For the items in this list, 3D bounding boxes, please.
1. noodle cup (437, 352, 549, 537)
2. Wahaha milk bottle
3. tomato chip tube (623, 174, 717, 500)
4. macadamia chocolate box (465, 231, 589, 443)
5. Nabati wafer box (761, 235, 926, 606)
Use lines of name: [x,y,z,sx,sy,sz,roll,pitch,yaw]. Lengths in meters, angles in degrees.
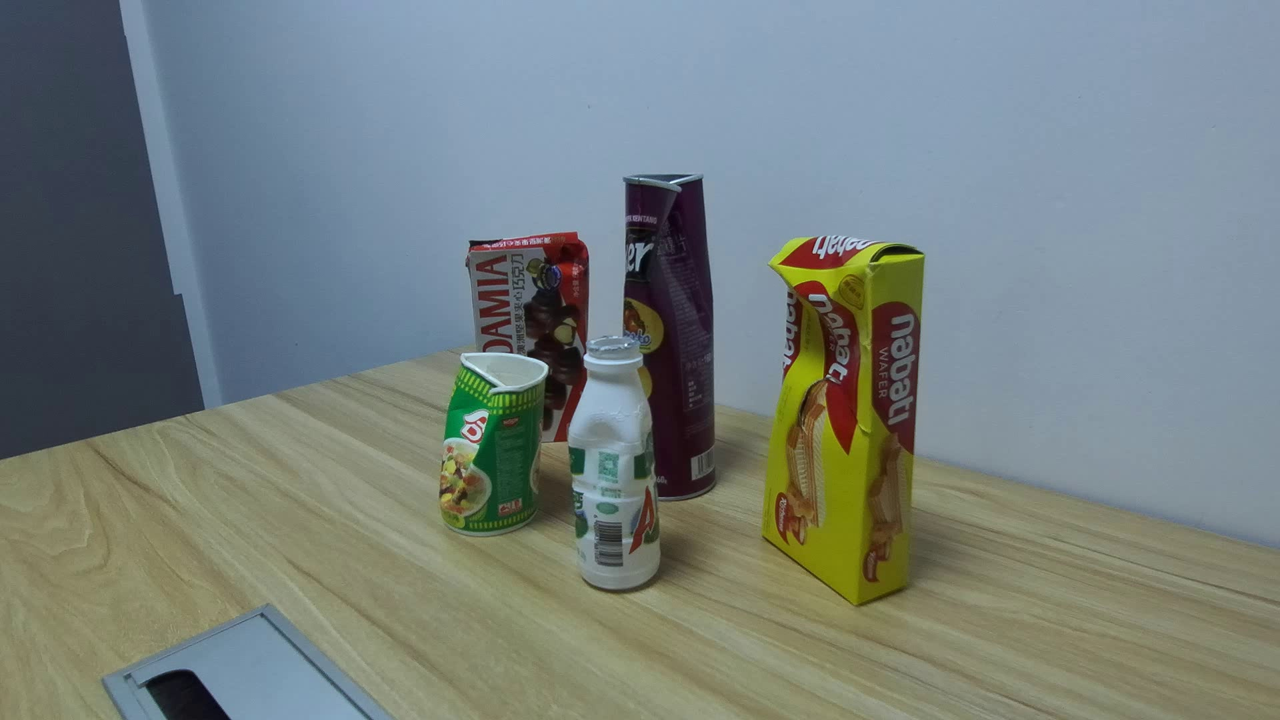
noodle cup: [-0.107,0.059,0.501,0.075,0.122,0.083,8,9,1]
Wahaha milk bottle: [-0.015,0.060,0.421,0.055,0.149,0.055,-2,16,1]
tomato chip tube: [0.022,-0.018,0.531,0.078,0.235,0.076,-5,18,-16]
macadamia chocolate box: [-0.093,-0.017,0.622,0.103,0.187,0.027,-2,22,-3]
Nabati wafer box: [0.113,0.029,0.421,0.042,0.204,0.106,-10,18,-24]
